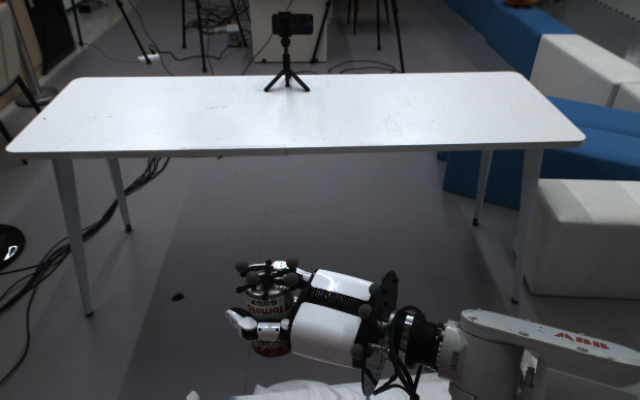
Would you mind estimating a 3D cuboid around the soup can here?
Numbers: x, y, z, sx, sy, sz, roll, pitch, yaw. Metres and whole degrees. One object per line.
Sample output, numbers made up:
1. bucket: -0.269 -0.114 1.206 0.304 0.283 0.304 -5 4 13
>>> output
1. soup can: -0.066 0.155 0.667 0.067 0.101 0.067 -4 25 2
